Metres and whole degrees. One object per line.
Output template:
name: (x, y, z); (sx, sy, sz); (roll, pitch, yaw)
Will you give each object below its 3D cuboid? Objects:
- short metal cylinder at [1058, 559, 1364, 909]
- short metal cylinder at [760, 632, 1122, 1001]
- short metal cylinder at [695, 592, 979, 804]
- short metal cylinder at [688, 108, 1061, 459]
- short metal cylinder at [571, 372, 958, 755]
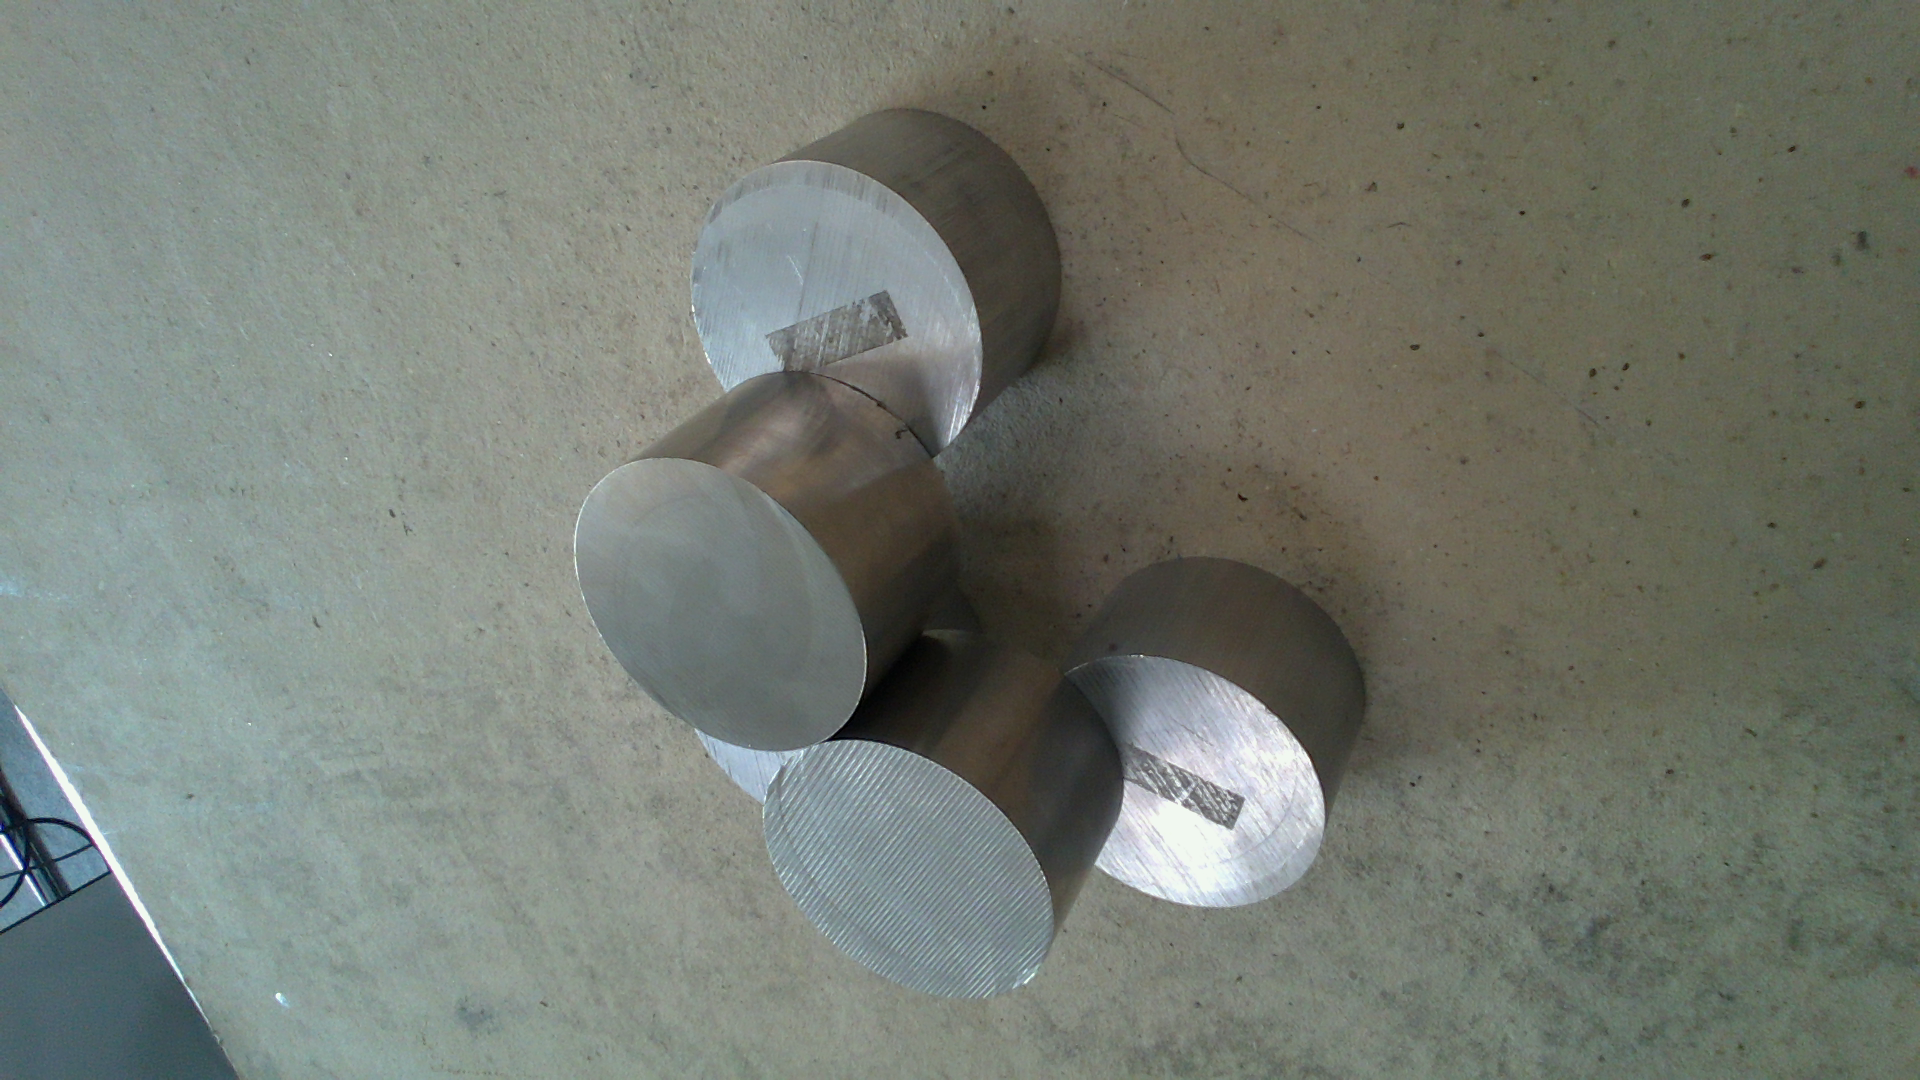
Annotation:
short metal cylinder: (0.064, 0.052, 0.374); (0.080, 0.050, 0.080); (13, 124, 21)
short metal cylinder: (-0.004, 0.071, 0.357); (0.080, 0.050, 0.080); (13, 124, 21)
short metal cylinder: (-0.039, 0.042, 0.424); (0.080, 0.050, 0.080); (13, 124, 21)
short metal cylinder: (-0.021, -0.063, 0.349); (0.080, 0.050, 0.080); (13, 124, 21)
short metal cylinder: (-0.047, 0.005, 0.340); (0.080, 0.050, 0.080); (14, 124, 21)
